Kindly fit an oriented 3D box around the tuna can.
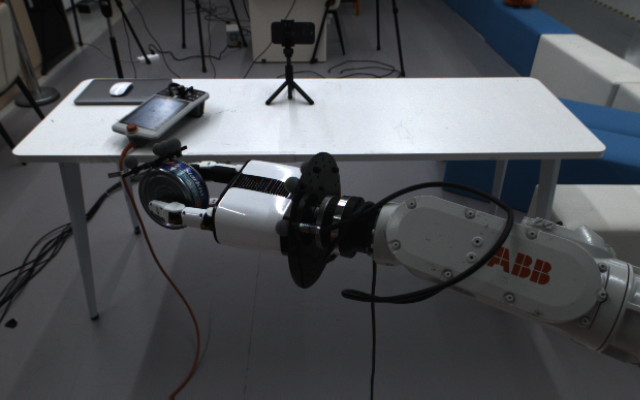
[{"bbox_3d":[-0.183,0.000,0.615,0.085,0.085,0.034,14,30,17],"label":"tuna can"}]
